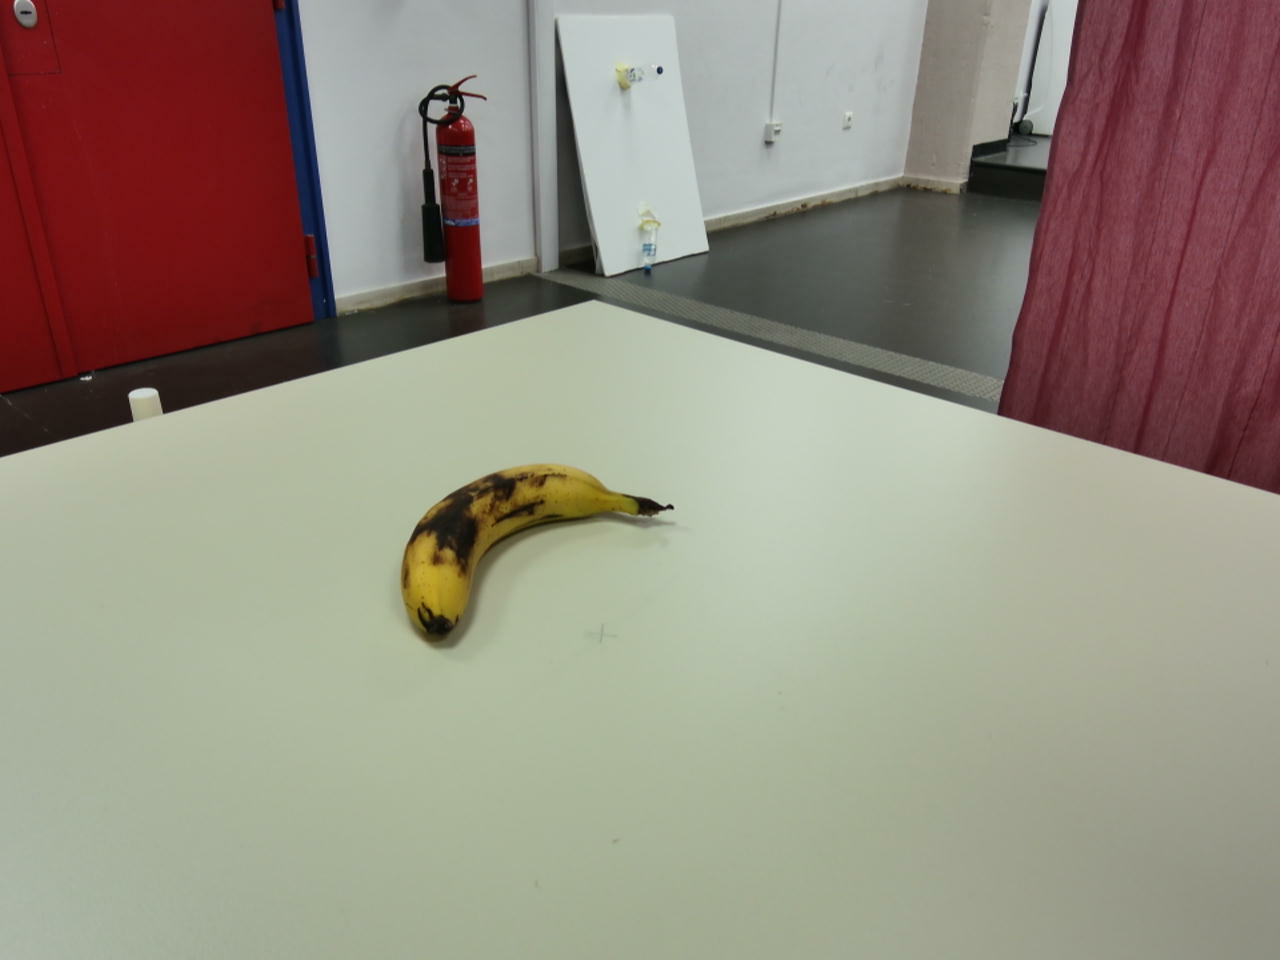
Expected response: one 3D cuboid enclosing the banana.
[{"bbox_3d":[-0.076,0.028,0.586,0.094,0.039,0.187,21,31,35],"label":"banana"}]
